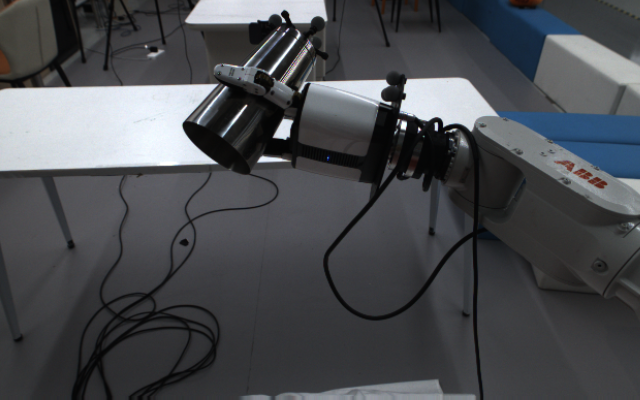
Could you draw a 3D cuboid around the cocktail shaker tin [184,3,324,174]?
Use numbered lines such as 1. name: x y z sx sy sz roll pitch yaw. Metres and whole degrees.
1. cocktail shaker tin: -0.076 -0.127 0.577 0.093 0.093 0.170 22 67 26
